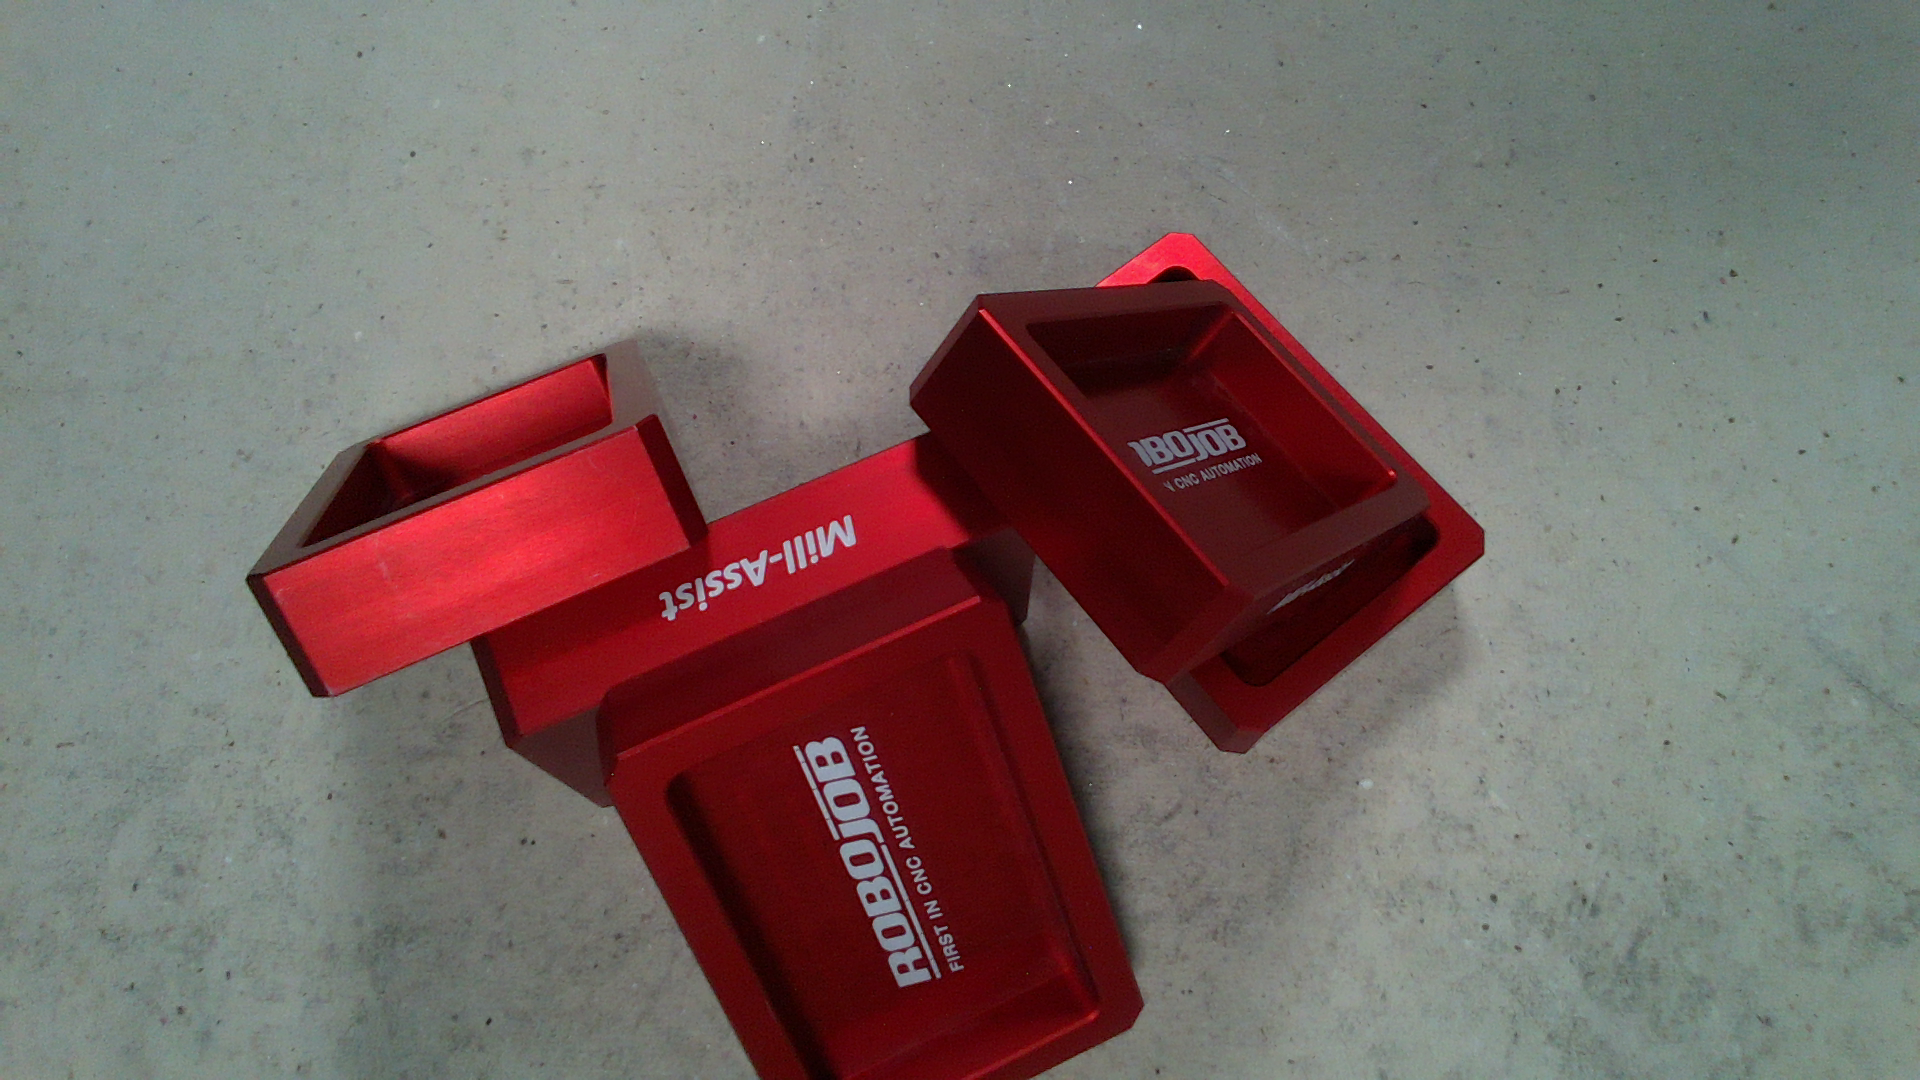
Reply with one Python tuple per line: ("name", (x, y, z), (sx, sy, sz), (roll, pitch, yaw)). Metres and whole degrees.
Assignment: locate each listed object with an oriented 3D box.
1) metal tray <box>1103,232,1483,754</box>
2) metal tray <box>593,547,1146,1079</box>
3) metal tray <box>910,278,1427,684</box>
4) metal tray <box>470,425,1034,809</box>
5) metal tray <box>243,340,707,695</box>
("metal tray", (0.071, -0.016, 0.398), (0.090, 0.030, 0.130), (-37, 74, -12))
("metal tray", (-0.017, 0.077, 0.320), (0.090, 0.030, 0.130), (-24, 116, -8))
("metal tray", (0.058, -0.023, 0.344), (0.090, 0.030, 0.131), (50, 33, 15))
("metal tray", (-0.046, 0.021, 0.352), (0.130, 0.090, 0.030), (-24, 72, -8))
("metal tray", (-0.117, -0.013, 0.349), (0.090, 0.130, 0.030), (-23, 110, -8))
